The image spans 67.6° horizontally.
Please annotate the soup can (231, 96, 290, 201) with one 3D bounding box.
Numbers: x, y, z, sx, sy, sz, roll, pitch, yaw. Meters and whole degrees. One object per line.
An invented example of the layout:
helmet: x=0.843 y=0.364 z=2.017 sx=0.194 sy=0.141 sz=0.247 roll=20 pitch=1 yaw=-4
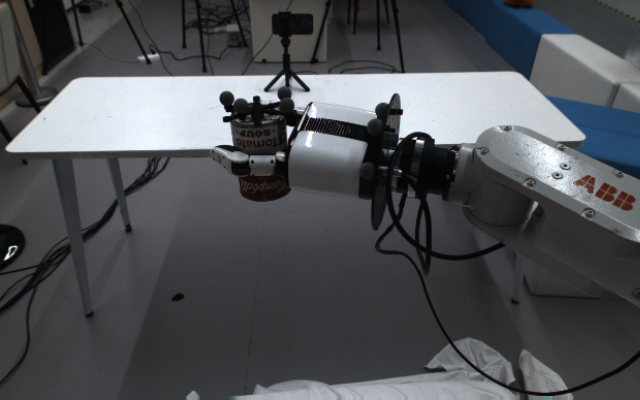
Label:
soup can: x=-0.070 y=-0.057 z=0.596 sx=0.067 sy=0.101 sz=0.067 roll=-2 pitch=32 yaw=1
